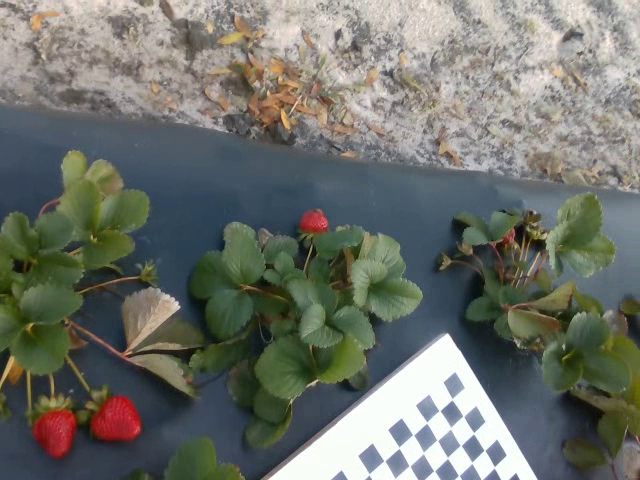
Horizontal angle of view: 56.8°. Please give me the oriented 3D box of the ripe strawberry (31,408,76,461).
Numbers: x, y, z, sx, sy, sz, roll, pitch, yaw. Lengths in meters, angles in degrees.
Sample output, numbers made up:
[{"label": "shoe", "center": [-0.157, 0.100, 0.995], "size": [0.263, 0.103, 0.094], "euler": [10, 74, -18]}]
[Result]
[{"label": "ripe strawberry", "center": [-0.287, 0.212, 0.643], "size": [0.048, 0.056, 0.041], "euler": [-15, -33, -24]}]

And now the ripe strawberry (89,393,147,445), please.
[{"label": "ripe strawberry", "center": [-0.228, 0.204, 0.661], "size": [0.064, 0.057, 0.051], "euler": [25, -29, 23]}]
